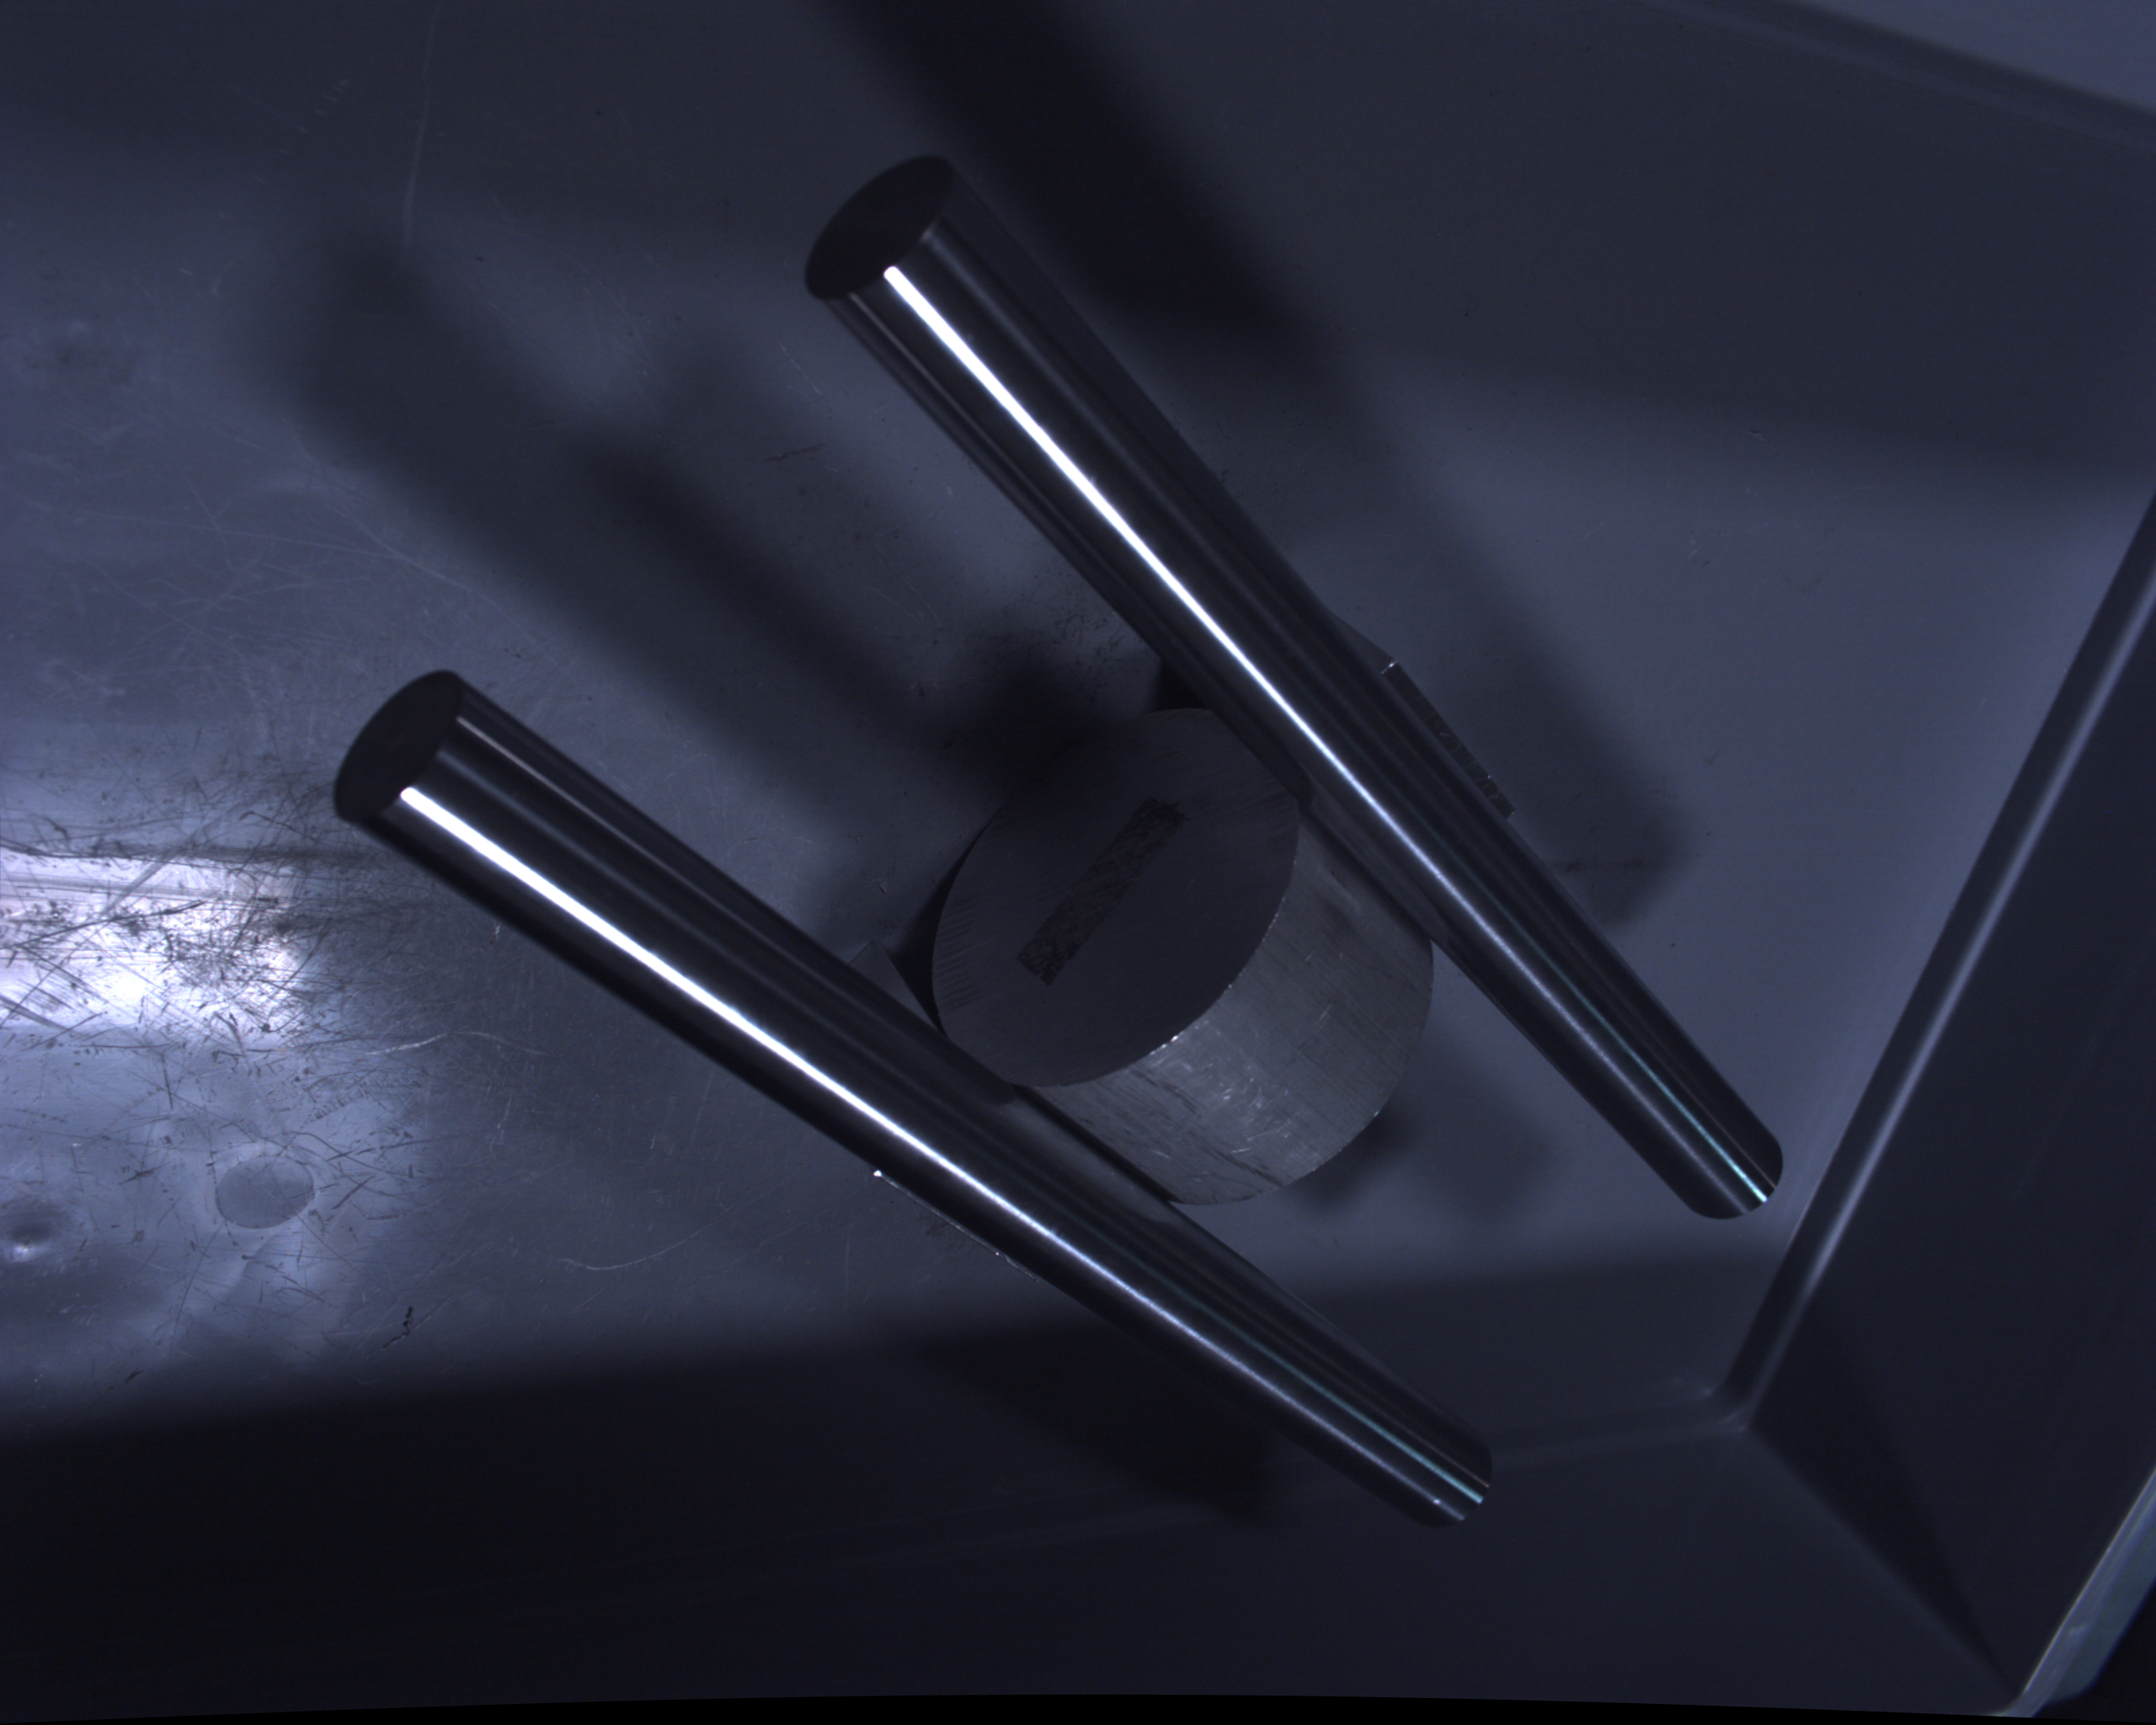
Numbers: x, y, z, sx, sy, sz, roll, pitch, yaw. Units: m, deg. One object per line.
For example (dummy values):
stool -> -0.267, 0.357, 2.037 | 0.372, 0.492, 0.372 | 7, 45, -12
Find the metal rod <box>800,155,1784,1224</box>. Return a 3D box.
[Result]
metal rod -> 0.059, -0.007, 0.372 | 0.025, 0.025, 0.300 | -46, 130, 3

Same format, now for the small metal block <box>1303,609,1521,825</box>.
small metal block -> 0.051, -0.026, 0.403 | 0.025, 0.050, 0.050 | -45, 130, 3

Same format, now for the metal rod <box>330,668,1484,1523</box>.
metal rod -> -0.006, 0.061, 0.379 | 0.025, 0.025, 0.300 | -46, 129, 3

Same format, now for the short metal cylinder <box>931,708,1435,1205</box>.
short metal cylinder -> 0.020, 0.018, 0.394 | 0.080, 0.080, 0.050 | -45, 130, 3

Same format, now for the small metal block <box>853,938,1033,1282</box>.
small metal block -> -0.024, 0.049, 0.409 | 0.025, 0.050, 0.050 | -45, 130, 3
